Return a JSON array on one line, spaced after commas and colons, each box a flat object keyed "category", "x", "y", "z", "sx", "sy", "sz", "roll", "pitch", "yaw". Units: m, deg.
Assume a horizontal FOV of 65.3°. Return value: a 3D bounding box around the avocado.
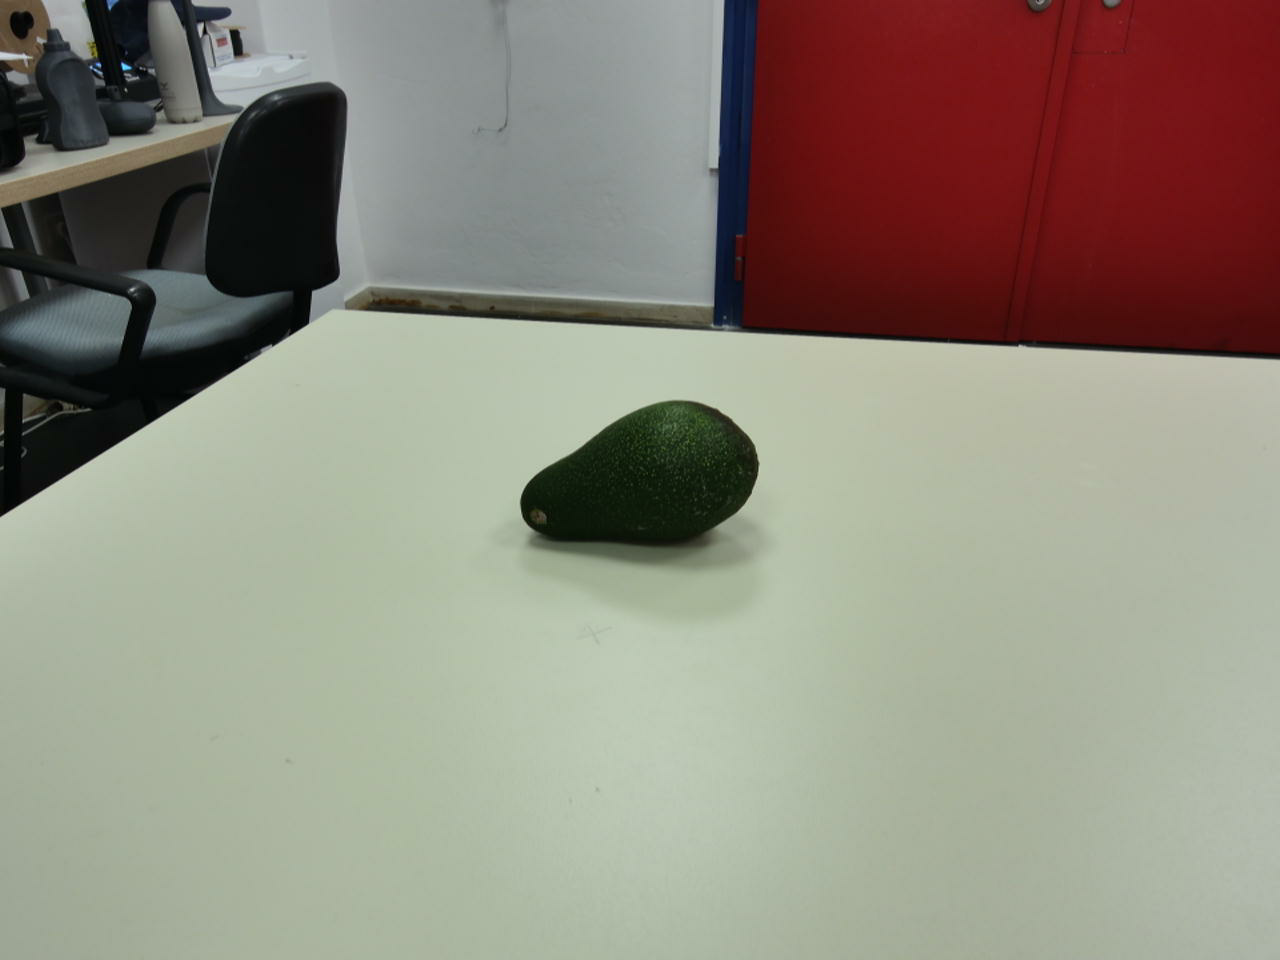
[{"category": "avocado", "x": 0.002, "y": -0.007, "z": 0.533, "sx": 0.123, "sy": 0.076, "sz": 0.074, "roll": 8, "pitch": 26, "yaw": 17}]
